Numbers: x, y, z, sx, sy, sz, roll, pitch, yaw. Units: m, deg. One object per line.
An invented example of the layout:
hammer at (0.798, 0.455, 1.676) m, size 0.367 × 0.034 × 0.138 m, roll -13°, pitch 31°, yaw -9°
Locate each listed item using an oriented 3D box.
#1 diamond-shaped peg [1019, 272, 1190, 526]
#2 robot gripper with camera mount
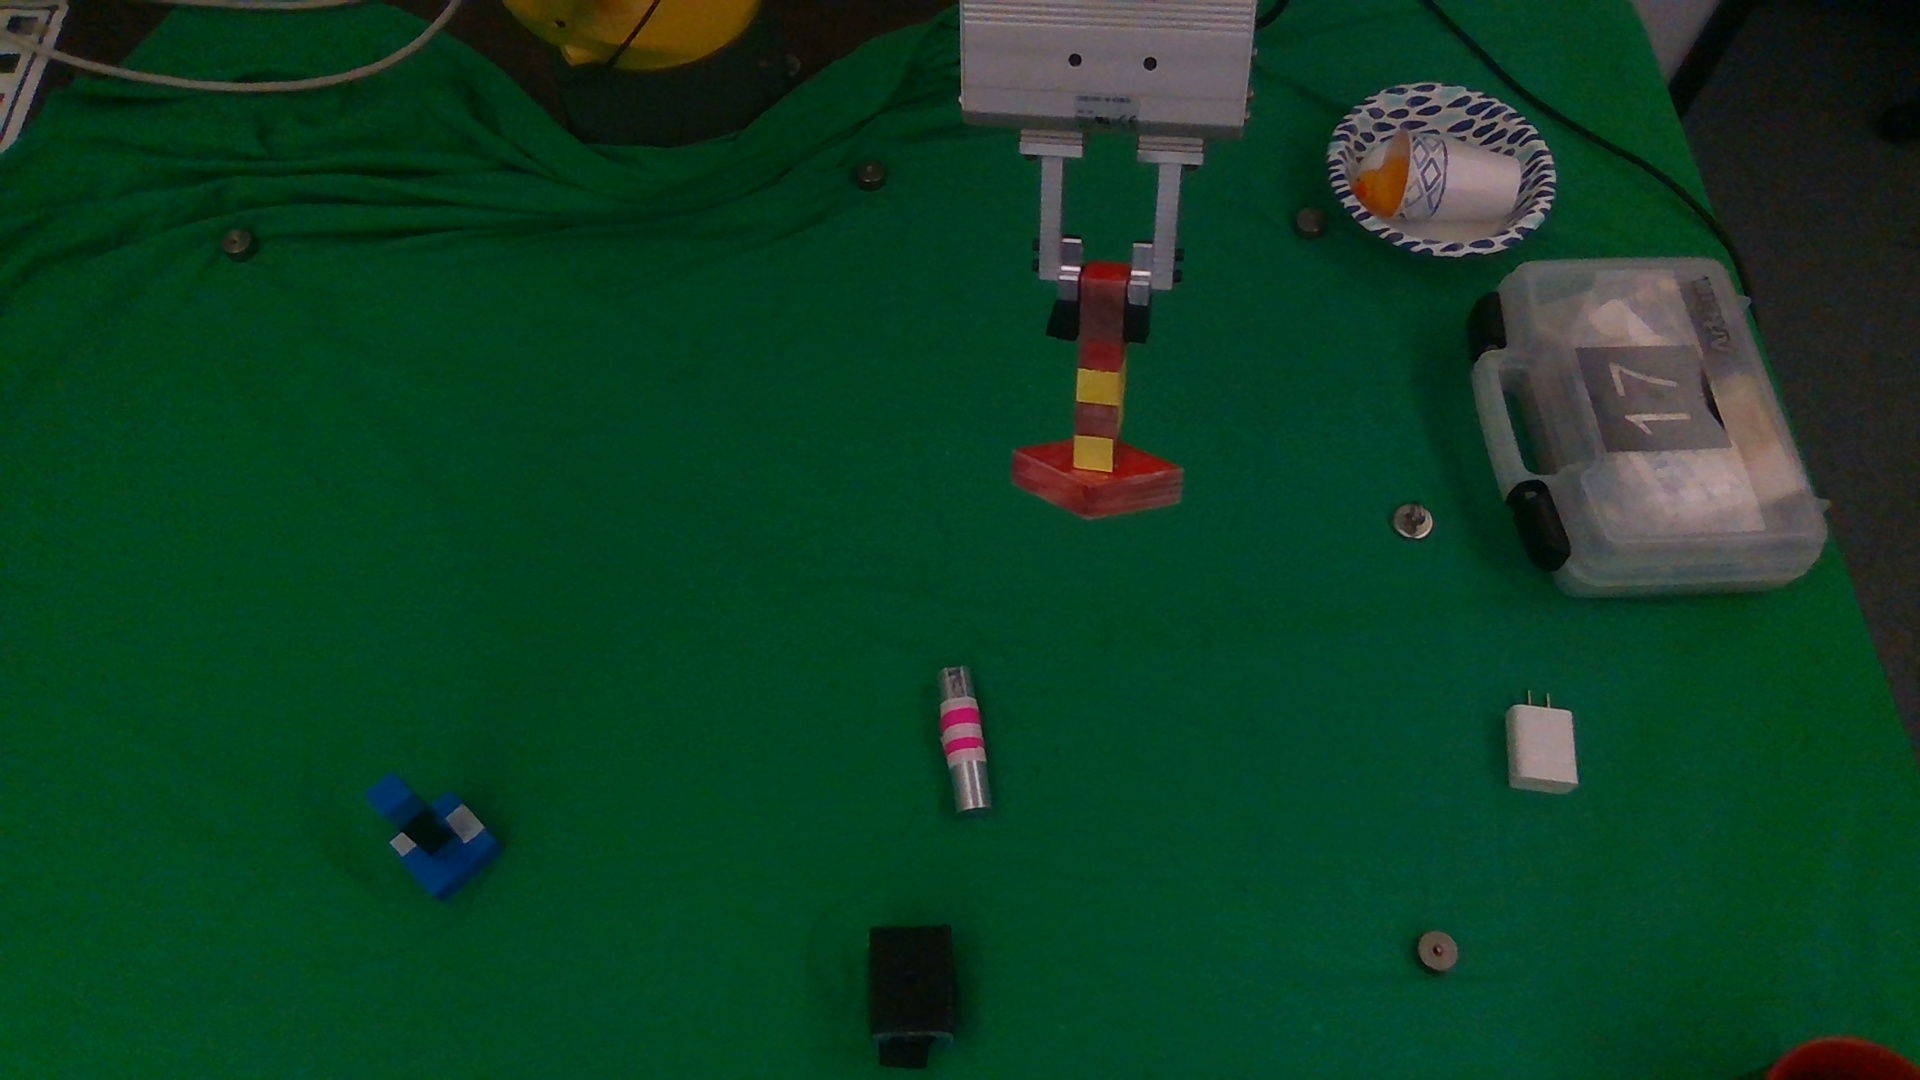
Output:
diamond-shaped peg at (0.068, -0.067, 0.656) m, size 0.074 × 0.122 × 0.045 m, roll -11°, pitch 38°, yaw -9°
robot gripper with camera mount at (0.074, -0.198, 0.659) m, size 0.119 × 0.158 × 0.193 m, roll 2°, pitch 33°, yaw 8°
